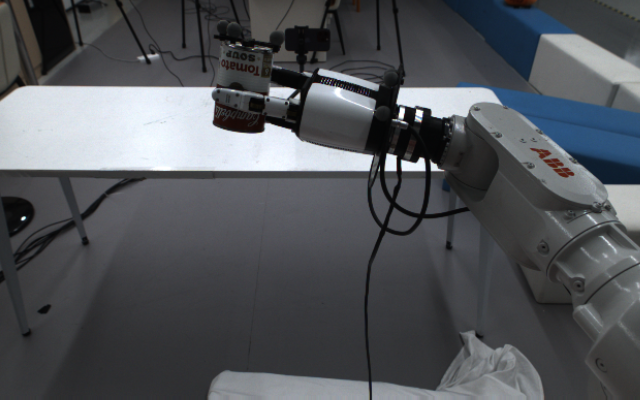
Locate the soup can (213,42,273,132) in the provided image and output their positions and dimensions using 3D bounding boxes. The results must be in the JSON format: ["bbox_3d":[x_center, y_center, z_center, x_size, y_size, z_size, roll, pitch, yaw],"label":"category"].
[{"bbox_3d":[-0.096,-0.142,0.611,0.067,0.101,0.067,9,20,-3],"label":"soup can"}]
